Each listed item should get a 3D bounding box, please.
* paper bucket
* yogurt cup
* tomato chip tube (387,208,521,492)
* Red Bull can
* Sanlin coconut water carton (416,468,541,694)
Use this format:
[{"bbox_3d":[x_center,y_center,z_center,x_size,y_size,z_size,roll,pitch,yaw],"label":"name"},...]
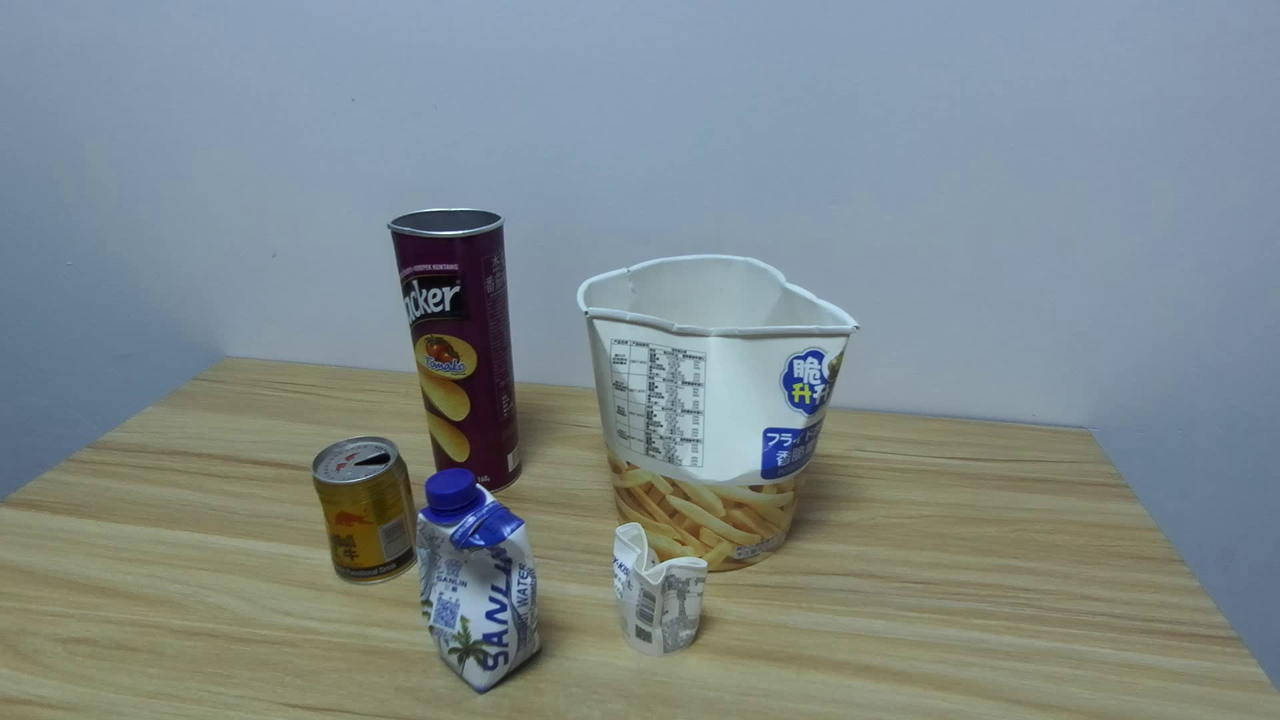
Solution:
[{"bbox_3d":[0.043,0.041,0.546,0.163,0.202,0.168,-11,26,-17],"label":"paper bucket"},{"bbox_3d":[0.012,0.151,0.467,0.055,0.072,0.054,-14,32,-16],"label":"yogurt cup"},{"bbox_3d":[-0.147,-0.002,0.593,0.077,0.234,0.080,-24,35,-39],"label":"tomato chip tube"},{"bbox_3d":[-0.202,0.111,0.525,0.068,0.093,0.068,-1,26,1],"label":"Red Bull can"},{"bbox_3d":[-0.099,0.136,0.425,0.068,0.145,0.057,29,46,33],"label":"Sanlin coconut water carton"}]
